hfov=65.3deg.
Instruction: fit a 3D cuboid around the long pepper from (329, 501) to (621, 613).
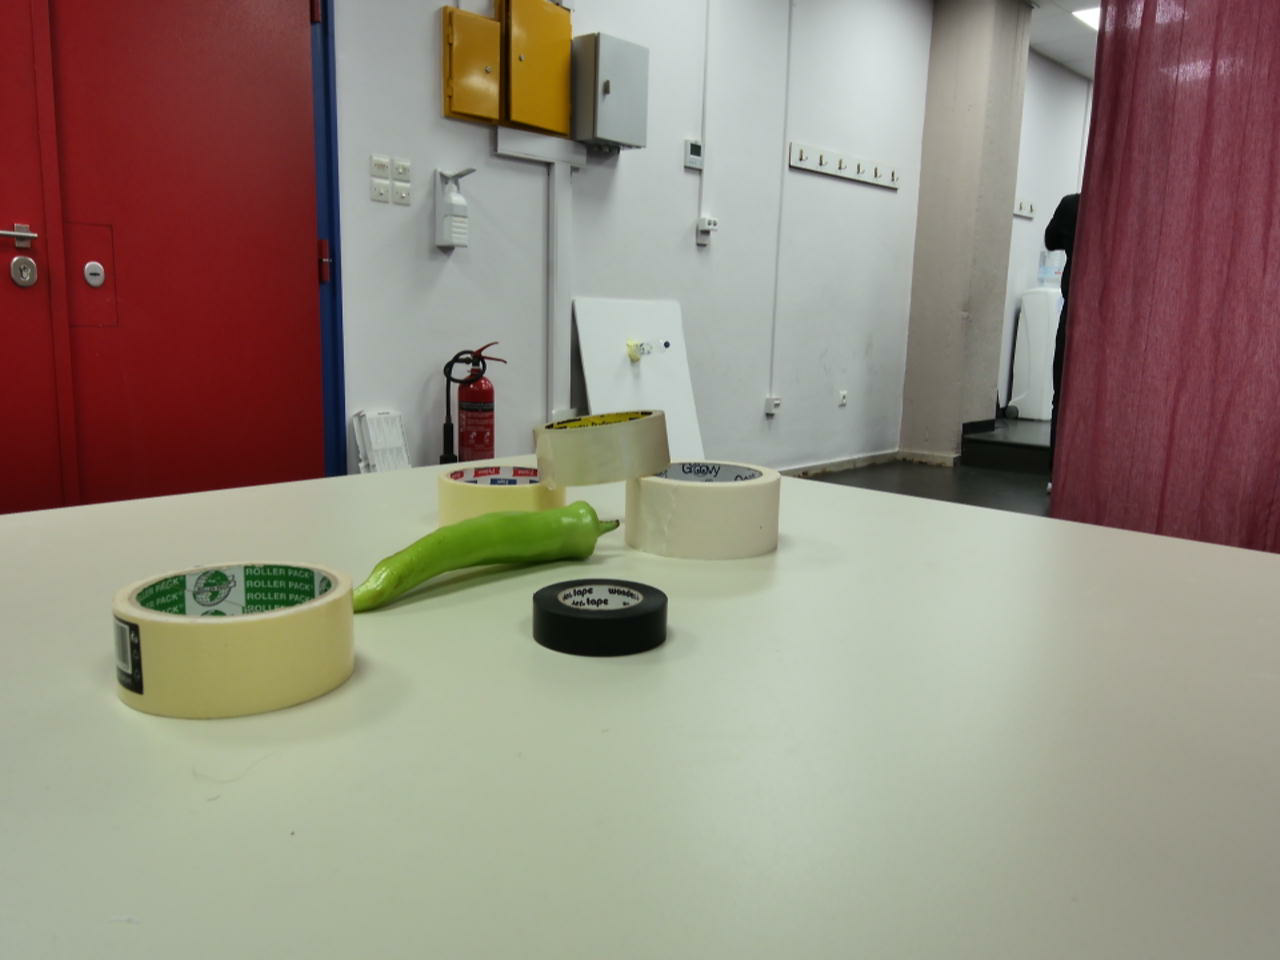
[{"bbox_3d":[-0.095,0.039,0.581,0.047,0.038,0.197,8,11,44],"label":"long pepper"}]
